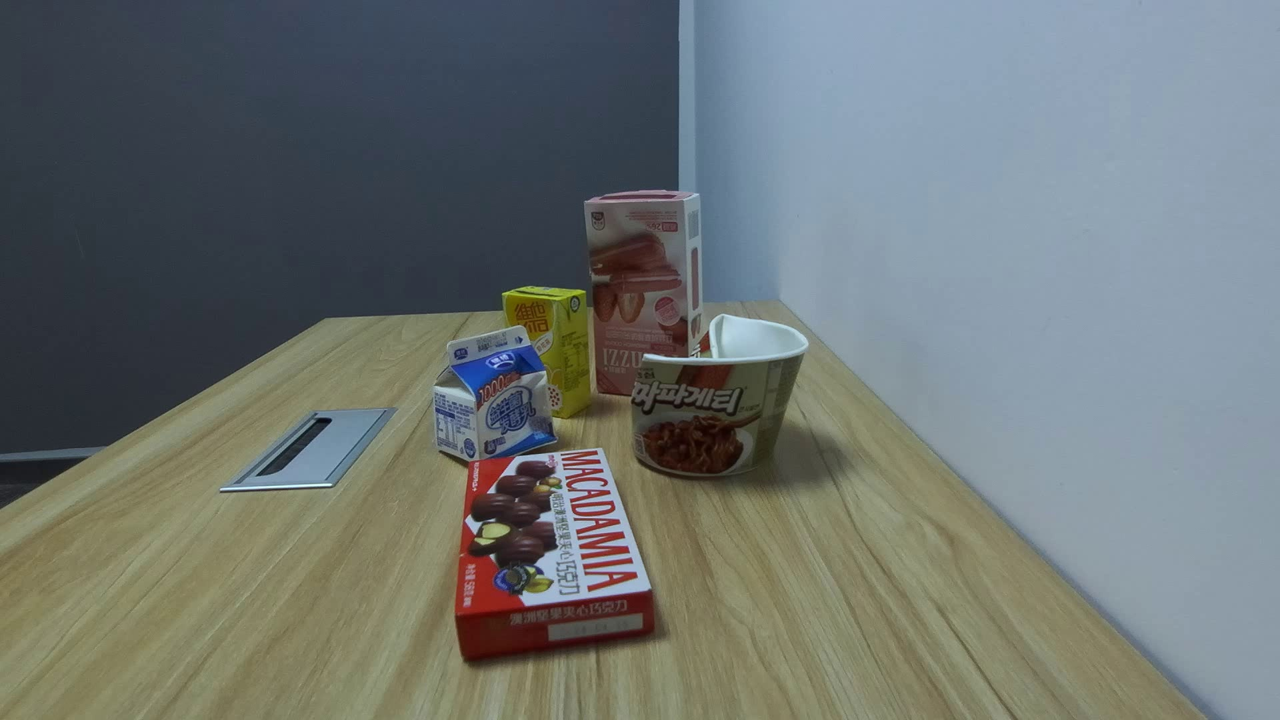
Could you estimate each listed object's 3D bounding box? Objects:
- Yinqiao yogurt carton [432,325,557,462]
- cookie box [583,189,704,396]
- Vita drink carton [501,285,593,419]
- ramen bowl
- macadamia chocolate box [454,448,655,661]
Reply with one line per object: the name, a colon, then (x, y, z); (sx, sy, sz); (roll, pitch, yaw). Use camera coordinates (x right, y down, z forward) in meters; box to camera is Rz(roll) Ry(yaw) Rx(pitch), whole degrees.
Yinqiao yogurt carton: (-0.115, 0.026, 0.556); (0.078, 0.094, 0.070); (-15, 17, -39)
cookie box: (0.003, -0.058, 0.654); (0.105, 0.187, 0.049); (4, 17, 22)
Vita drink carton: (-0.082, -0.009, 0.638); (0.066, 0.109, 0.044); (9, 21, 32)
ramen bowl: (0.053, 0.026, 0.527); (0.137, 0.098, 0.137); (-4, 19, 2)
macadamia chocolate box: (-0.055, 0.102, 0.418); (0.096, 0.027, 0.177); (-5, 17, -10)
